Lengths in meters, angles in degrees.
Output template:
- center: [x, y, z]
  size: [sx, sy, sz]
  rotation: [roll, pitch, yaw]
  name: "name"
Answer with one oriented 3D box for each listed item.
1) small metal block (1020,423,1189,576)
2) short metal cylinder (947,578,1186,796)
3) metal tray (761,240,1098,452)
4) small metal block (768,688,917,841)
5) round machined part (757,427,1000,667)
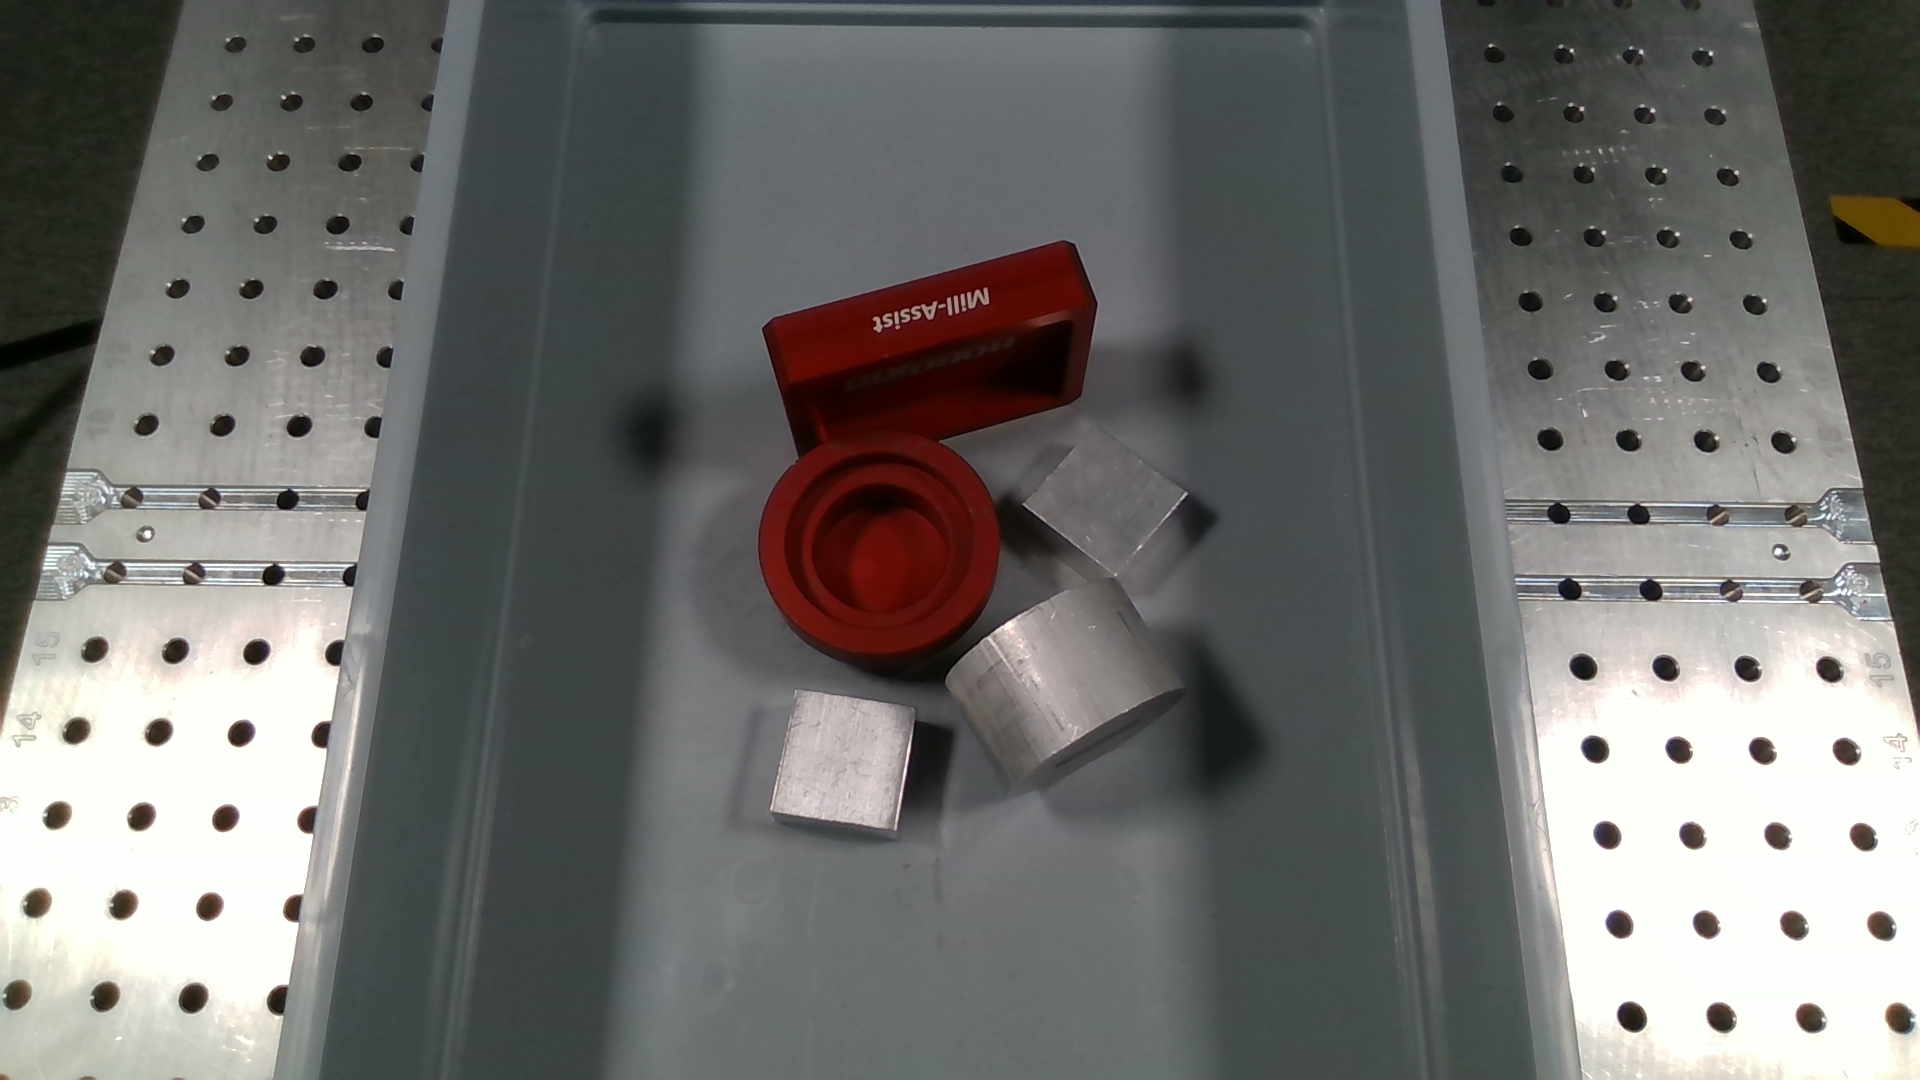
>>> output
- center: [0.061, -0.013, 0.591]
  size: [0.050, 0.025, 0.050]
  rotation: [38, 73, 13]
  name: "small metal block"
- center: [0.041, 0.058, 0.537]
  size: [0.080, 0.080, 0.050]
  rotation: [-28, 72, -10]
  name: "short metal cylinder"
- center: [-0.012, -0.074, 0.579]
  size: [0.130, 0.090, 0.030]
  rotation: [-16, 70, -6]
  name: "metal tray"
- center: [-0.046, 0.091, 0.554]
  size: [0.050, 0.025, 0.050]
  rotation: [9, 69, 3]
  name: "small metal block"
- center: [-0.033, 0.006, 0.574]
  size: [0.098, 0.042, 0.098]
  rotation: [0, 70, 0]
  name: "round machined part"
